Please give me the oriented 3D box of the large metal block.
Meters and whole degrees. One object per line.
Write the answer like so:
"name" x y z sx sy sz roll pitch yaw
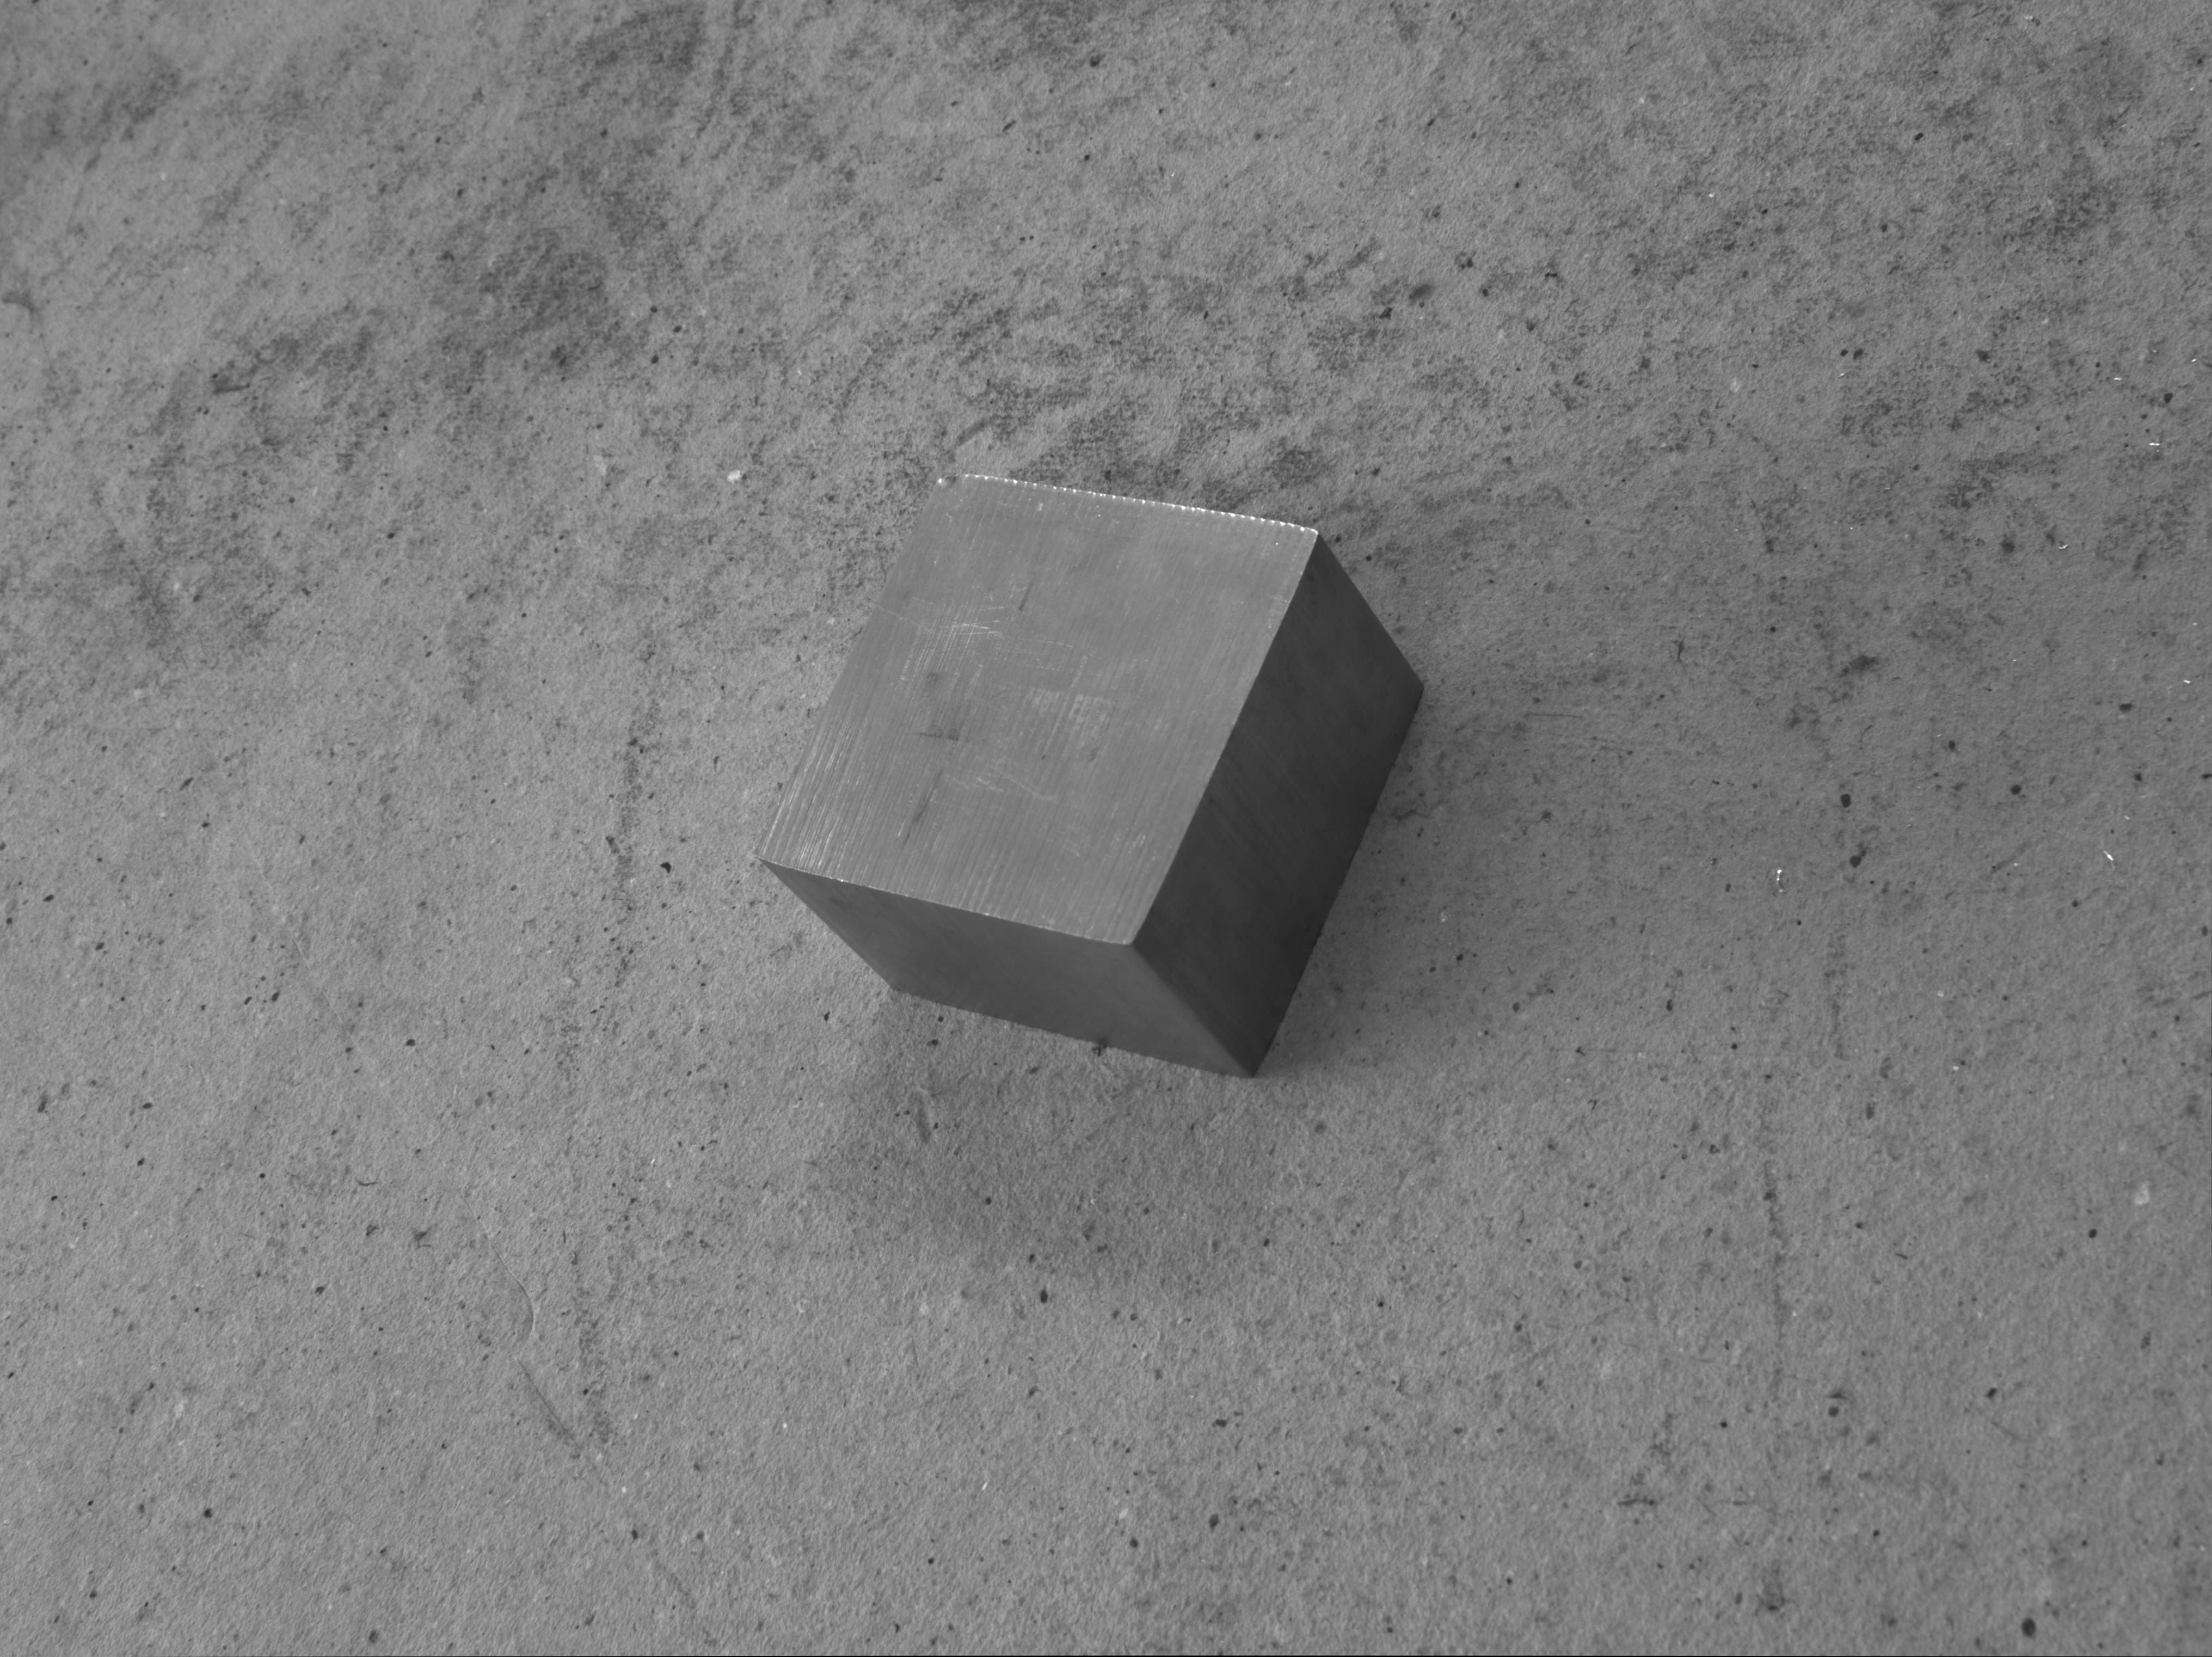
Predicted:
"large metal block" -0.002 -0.010 0.637 0.080 0.050 0.080 12 68 32
